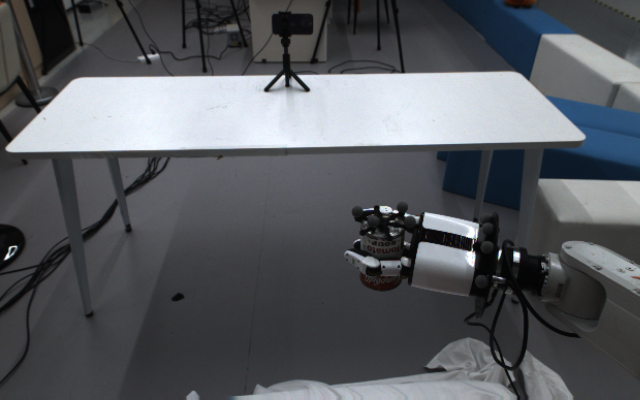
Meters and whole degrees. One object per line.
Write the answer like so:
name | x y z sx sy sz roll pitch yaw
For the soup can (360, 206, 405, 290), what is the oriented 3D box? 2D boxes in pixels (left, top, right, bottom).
soup can | 0.096 0.079 0.745 0.067 0.101 0.067 -2 32 1
